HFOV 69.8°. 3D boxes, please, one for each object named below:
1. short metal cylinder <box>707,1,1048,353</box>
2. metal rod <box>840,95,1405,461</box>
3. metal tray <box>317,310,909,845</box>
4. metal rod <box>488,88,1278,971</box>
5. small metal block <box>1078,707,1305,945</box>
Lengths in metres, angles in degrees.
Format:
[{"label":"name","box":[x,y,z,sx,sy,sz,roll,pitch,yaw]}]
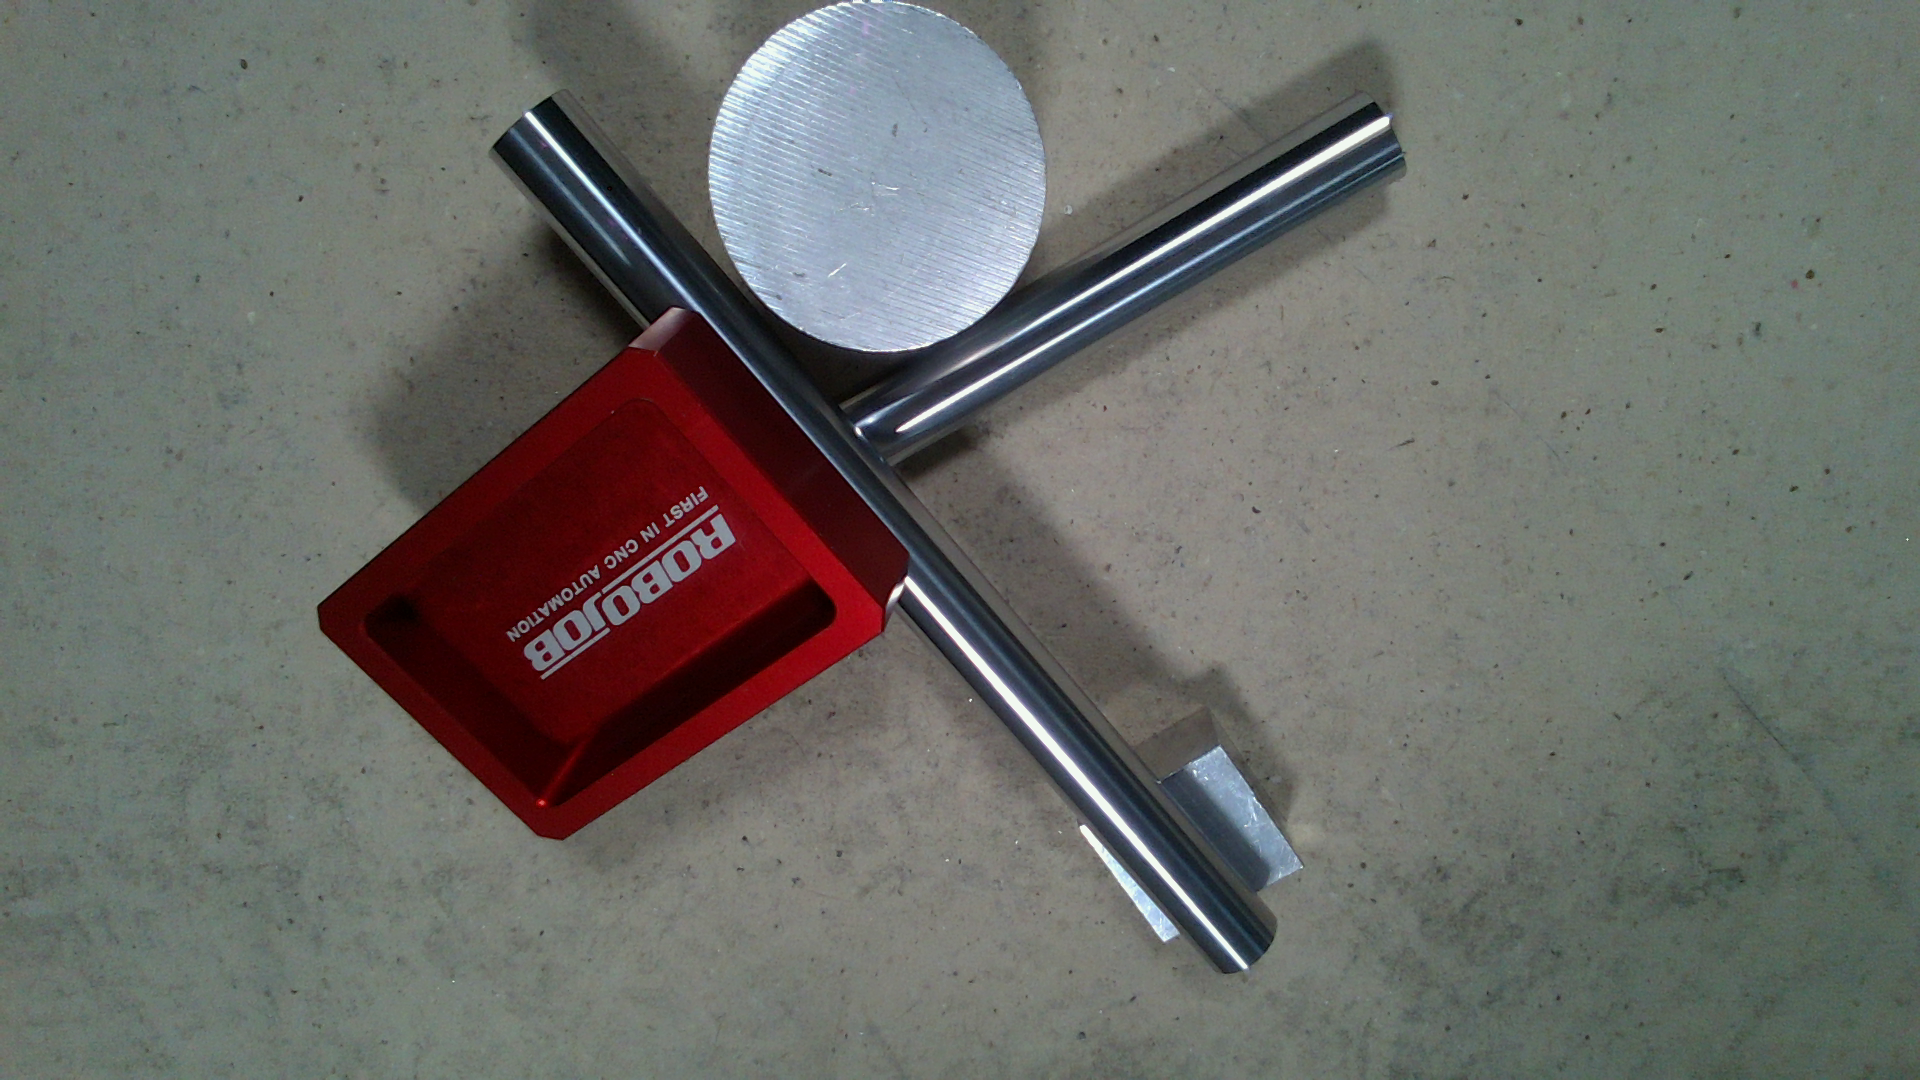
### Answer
[{"label":"short metal cylinder","box":[-0.019,-0.092,0.346,0.080,0.050,0.080,0,110,0]},{"label":"metal rod","box":[-0.021,-0.034,0.382,0.300,0.025,0.025,-28,108,10]},{"label":"metal tray","box":[-0.090,0.014,0.355,0.130,0.030,0.090,-34,107,24]},{"label":"metal rod","box":[-0.009,0.009,0.371,0.025,0.025,0.300,-37,106,13]},{"label":"small metal block","box":[0.070,0.089,0.427,0.050,0.025,0.050,-32,107,11]}]
